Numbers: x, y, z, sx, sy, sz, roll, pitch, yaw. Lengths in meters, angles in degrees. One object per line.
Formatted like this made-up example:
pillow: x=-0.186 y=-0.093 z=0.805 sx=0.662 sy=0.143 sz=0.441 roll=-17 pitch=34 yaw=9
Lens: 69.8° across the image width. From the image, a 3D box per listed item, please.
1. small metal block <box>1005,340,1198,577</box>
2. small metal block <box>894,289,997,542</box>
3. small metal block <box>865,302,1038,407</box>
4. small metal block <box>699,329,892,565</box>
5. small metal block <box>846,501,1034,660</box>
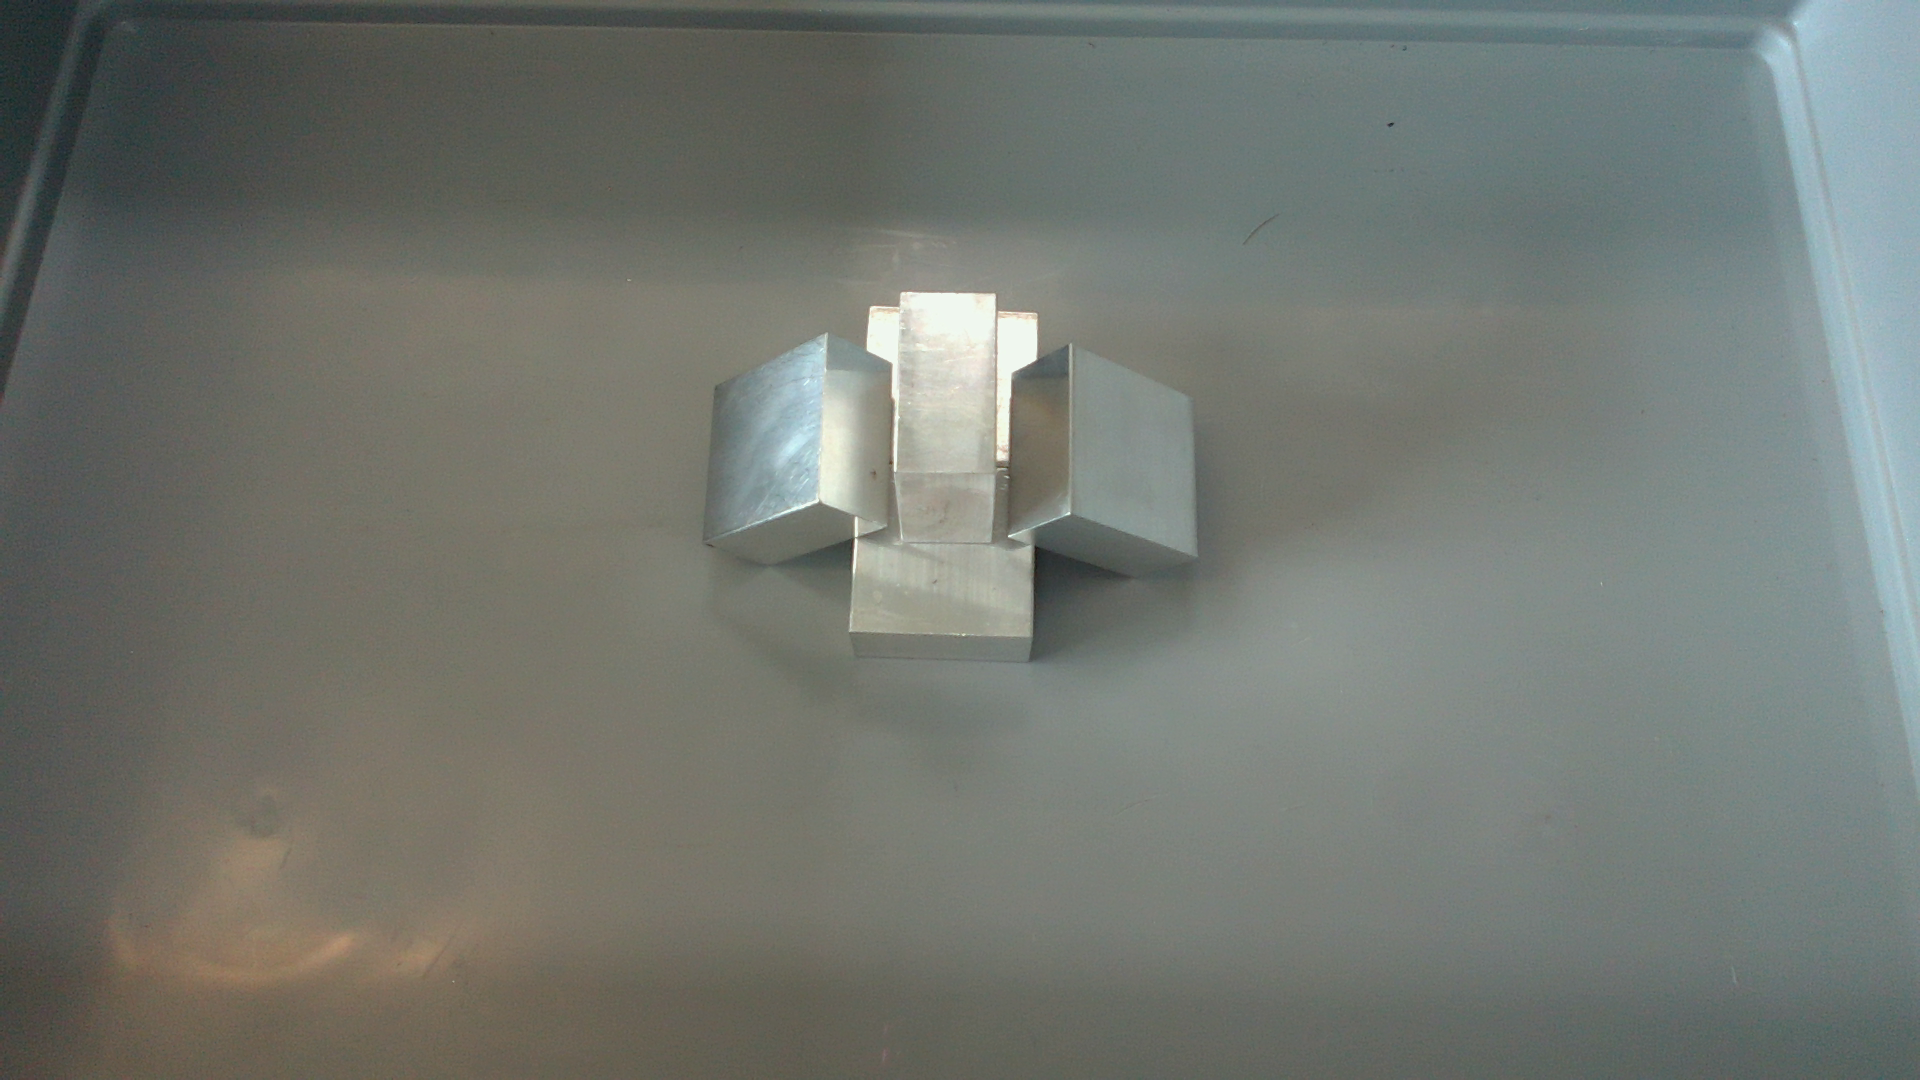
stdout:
small metal block: x=0.040 y=-0.022 z=0.388 sx=0.050 sy=0.025 sz=0.050 roll=17 pitch=66 yaw=-36
small metal block: x=-0.003 y=-0.031 z=0.364 sx=0.025 sy=0.050 sz=0.050 roll=1 pitch=70 yaw=0
small metal block: x=-0.003 y=-0.041 z=0.407 sx=0.050 sy=0.025 sz=0.050 roll=3 pitch=70 yaw=0
small metal block: x=-0.046 y=-0.025 z=0.387 sx=0.050 sy=0.025 sz=0.050 roll=-17 pitch=63 yaw=41
small metal block: x=-0.004 y=0.007 z=0.390 sx=0.050 sy=0.025 sz=0.050 roll=2 pitch=70 yaw=1
